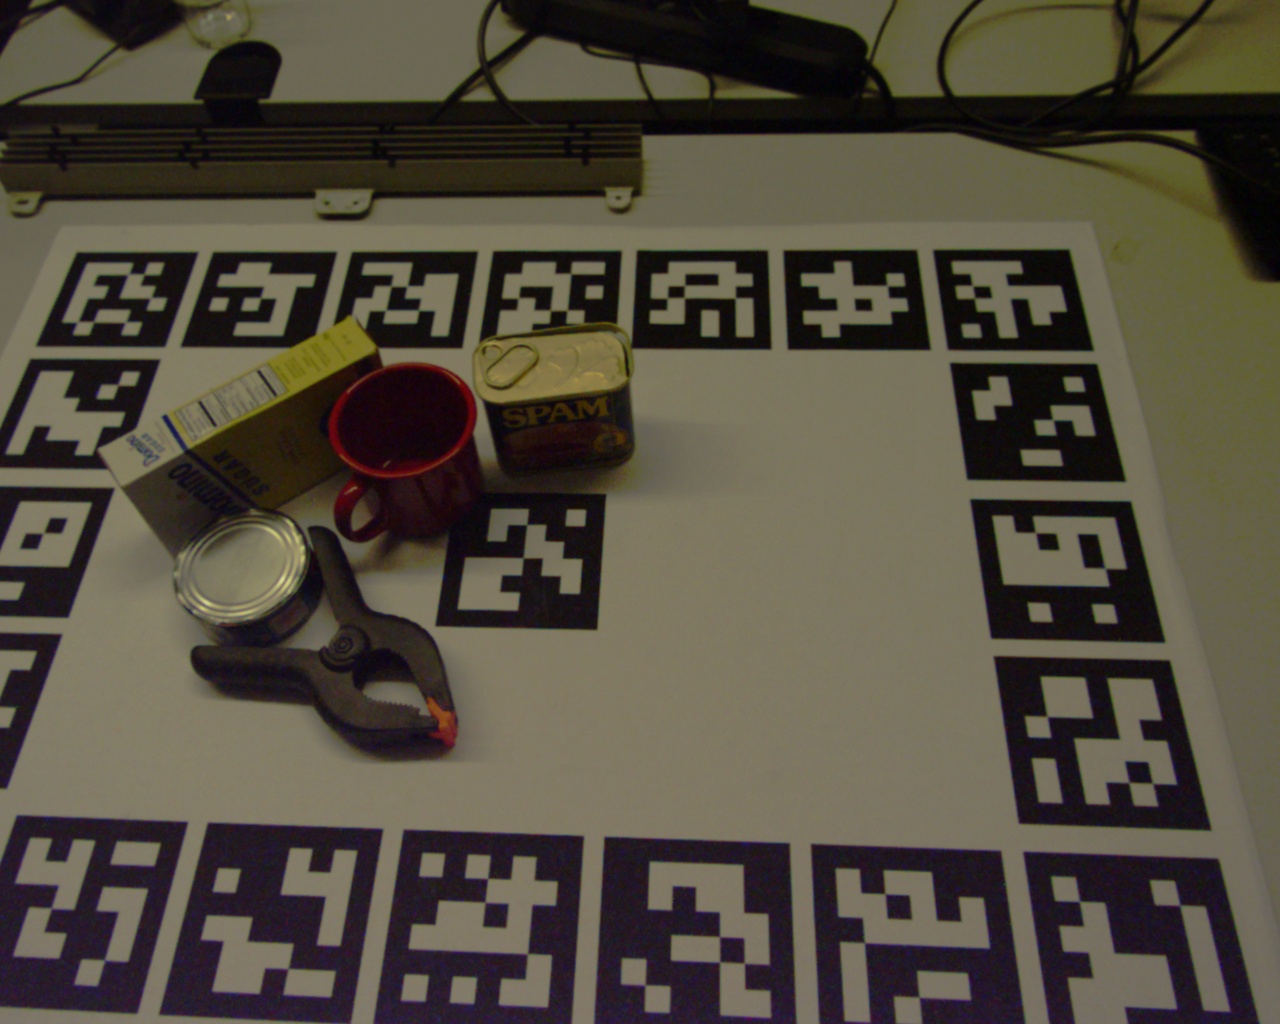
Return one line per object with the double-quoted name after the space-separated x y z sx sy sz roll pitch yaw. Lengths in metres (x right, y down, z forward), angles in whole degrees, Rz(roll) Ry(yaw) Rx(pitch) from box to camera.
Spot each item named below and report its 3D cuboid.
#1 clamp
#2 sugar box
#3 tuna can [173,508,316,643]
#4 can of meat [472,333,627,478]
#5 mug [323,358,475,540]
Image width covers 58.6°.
-0.181 0.092 0.717 0.166 0.036 0.121 33 61 16 "clamp"
-0.253 -0.044 0.773 0.175 0.092 0.046 -33 61 -18 "sugar box"
-0.257 0.043 0.746 0.086 0.033 0.086 -2 59 2 "tuna can"
-0.060 -0.071 0.786 0.102 0.083 0.058 -6 57 -3 "can of meat"
-0.161 -0.032 0.757 0.094 0.081 0.117 22 63 15 "mug"
